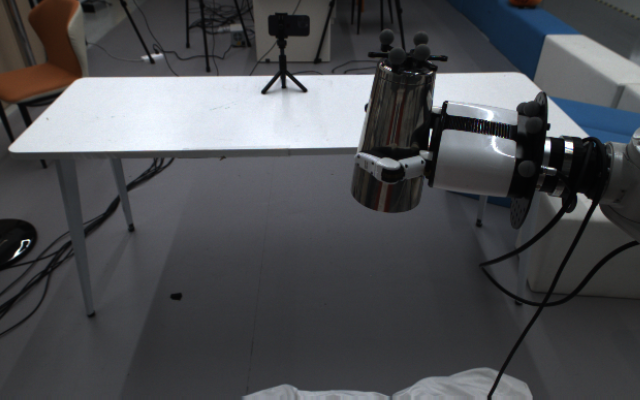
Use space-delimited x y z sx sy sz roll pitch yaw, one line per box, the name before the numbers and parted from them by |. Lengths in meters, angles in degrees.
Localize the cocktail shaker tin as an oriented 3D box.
cocktail shaker tin | 0.093 -0.081 0.584 0.093 0.170 0.093 3 34 -2
